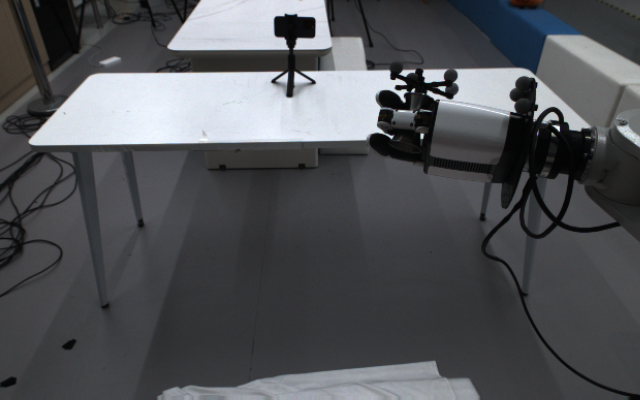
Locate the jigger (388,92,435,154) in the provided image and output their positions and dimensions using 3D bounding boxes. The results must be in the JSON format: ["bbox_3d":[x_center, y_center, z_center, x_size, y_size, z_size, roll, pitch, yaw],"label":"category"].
[{"bbox_3d":[0.121,-0.099,0.623,0.043,0.071,0.043,16,-7,2],"label":"jigger"}]
